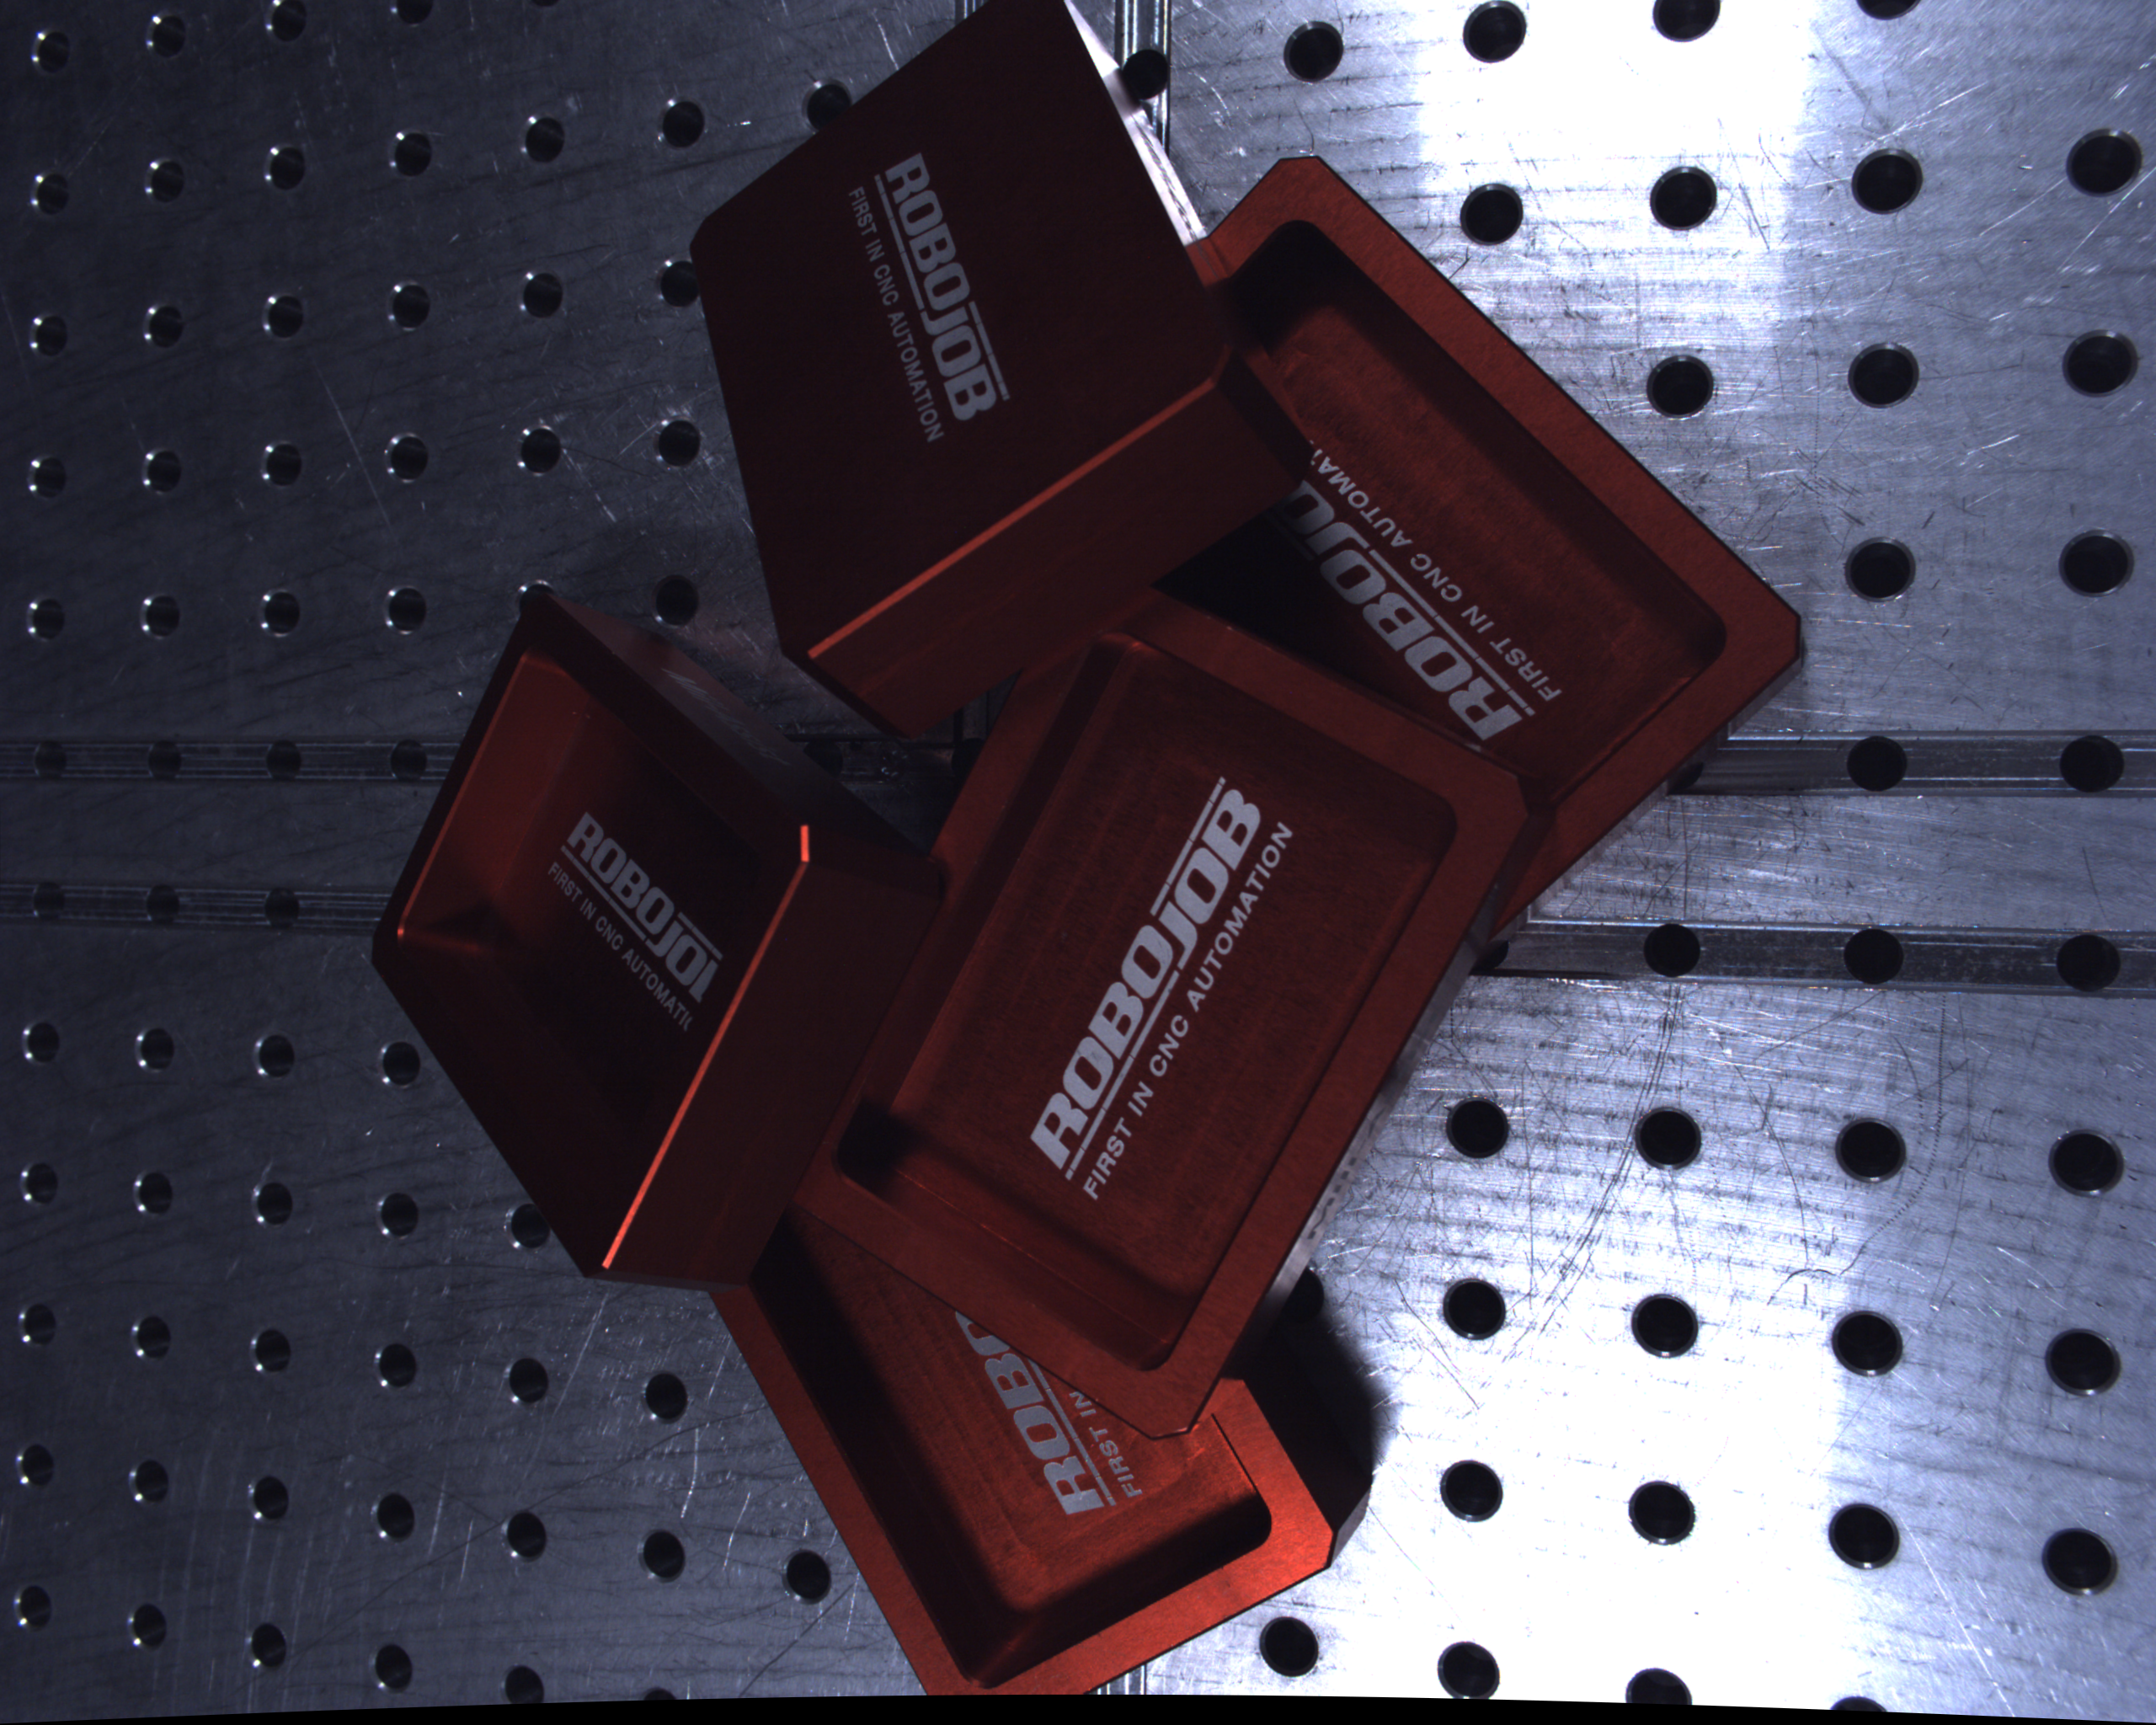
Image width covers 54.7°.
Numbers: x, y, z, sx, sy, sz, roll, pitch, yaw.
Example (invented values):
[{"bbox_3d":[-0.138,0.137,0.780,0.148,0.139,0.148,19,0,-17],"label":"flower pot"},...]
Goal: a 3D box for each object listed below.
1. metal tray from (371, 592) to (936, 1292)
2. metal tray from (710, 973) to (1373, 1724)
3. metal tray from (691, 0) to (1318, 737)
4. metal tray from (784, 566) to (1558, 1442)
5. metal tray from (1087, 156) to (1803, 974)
[{"bbox_3d":[-0.088,0.011,0.407,0.130,0.030,0.090,37,103,47],"label":"metal tray"},{"bbox_3d":[-0.014,0.095,0.414,0.090,0.030,0.130,-34,79,16],"label":"metal tray"},{"bbox_3d":[-0.019,-0.096,0.384,0.090,0.030,0.130,-32,50,16],"label":"metal tray"},{"bbox_3d":[0.014,0.024,0.372,0.090,0.030,0.129,30,99,17],"label":"metal tray"},{"bbox_3d":[0.057,-0.054,0.389,0.090,0.030,0.130,-45,77,14],"label":"metal tray"}]
